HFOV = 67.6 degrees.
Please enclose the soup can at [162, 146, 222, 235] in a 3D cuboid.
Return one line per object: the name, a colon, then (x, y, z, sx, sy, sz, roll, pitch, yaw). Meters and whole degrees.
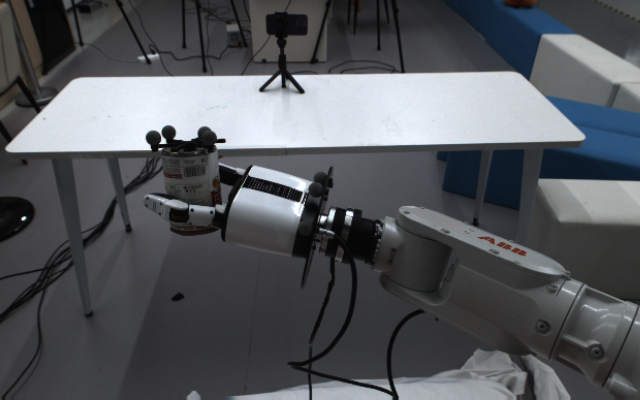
soup can: (-0.155, -0.014, 0.598, 0.067, 0.101, 0.067, -2, 17, 0)
